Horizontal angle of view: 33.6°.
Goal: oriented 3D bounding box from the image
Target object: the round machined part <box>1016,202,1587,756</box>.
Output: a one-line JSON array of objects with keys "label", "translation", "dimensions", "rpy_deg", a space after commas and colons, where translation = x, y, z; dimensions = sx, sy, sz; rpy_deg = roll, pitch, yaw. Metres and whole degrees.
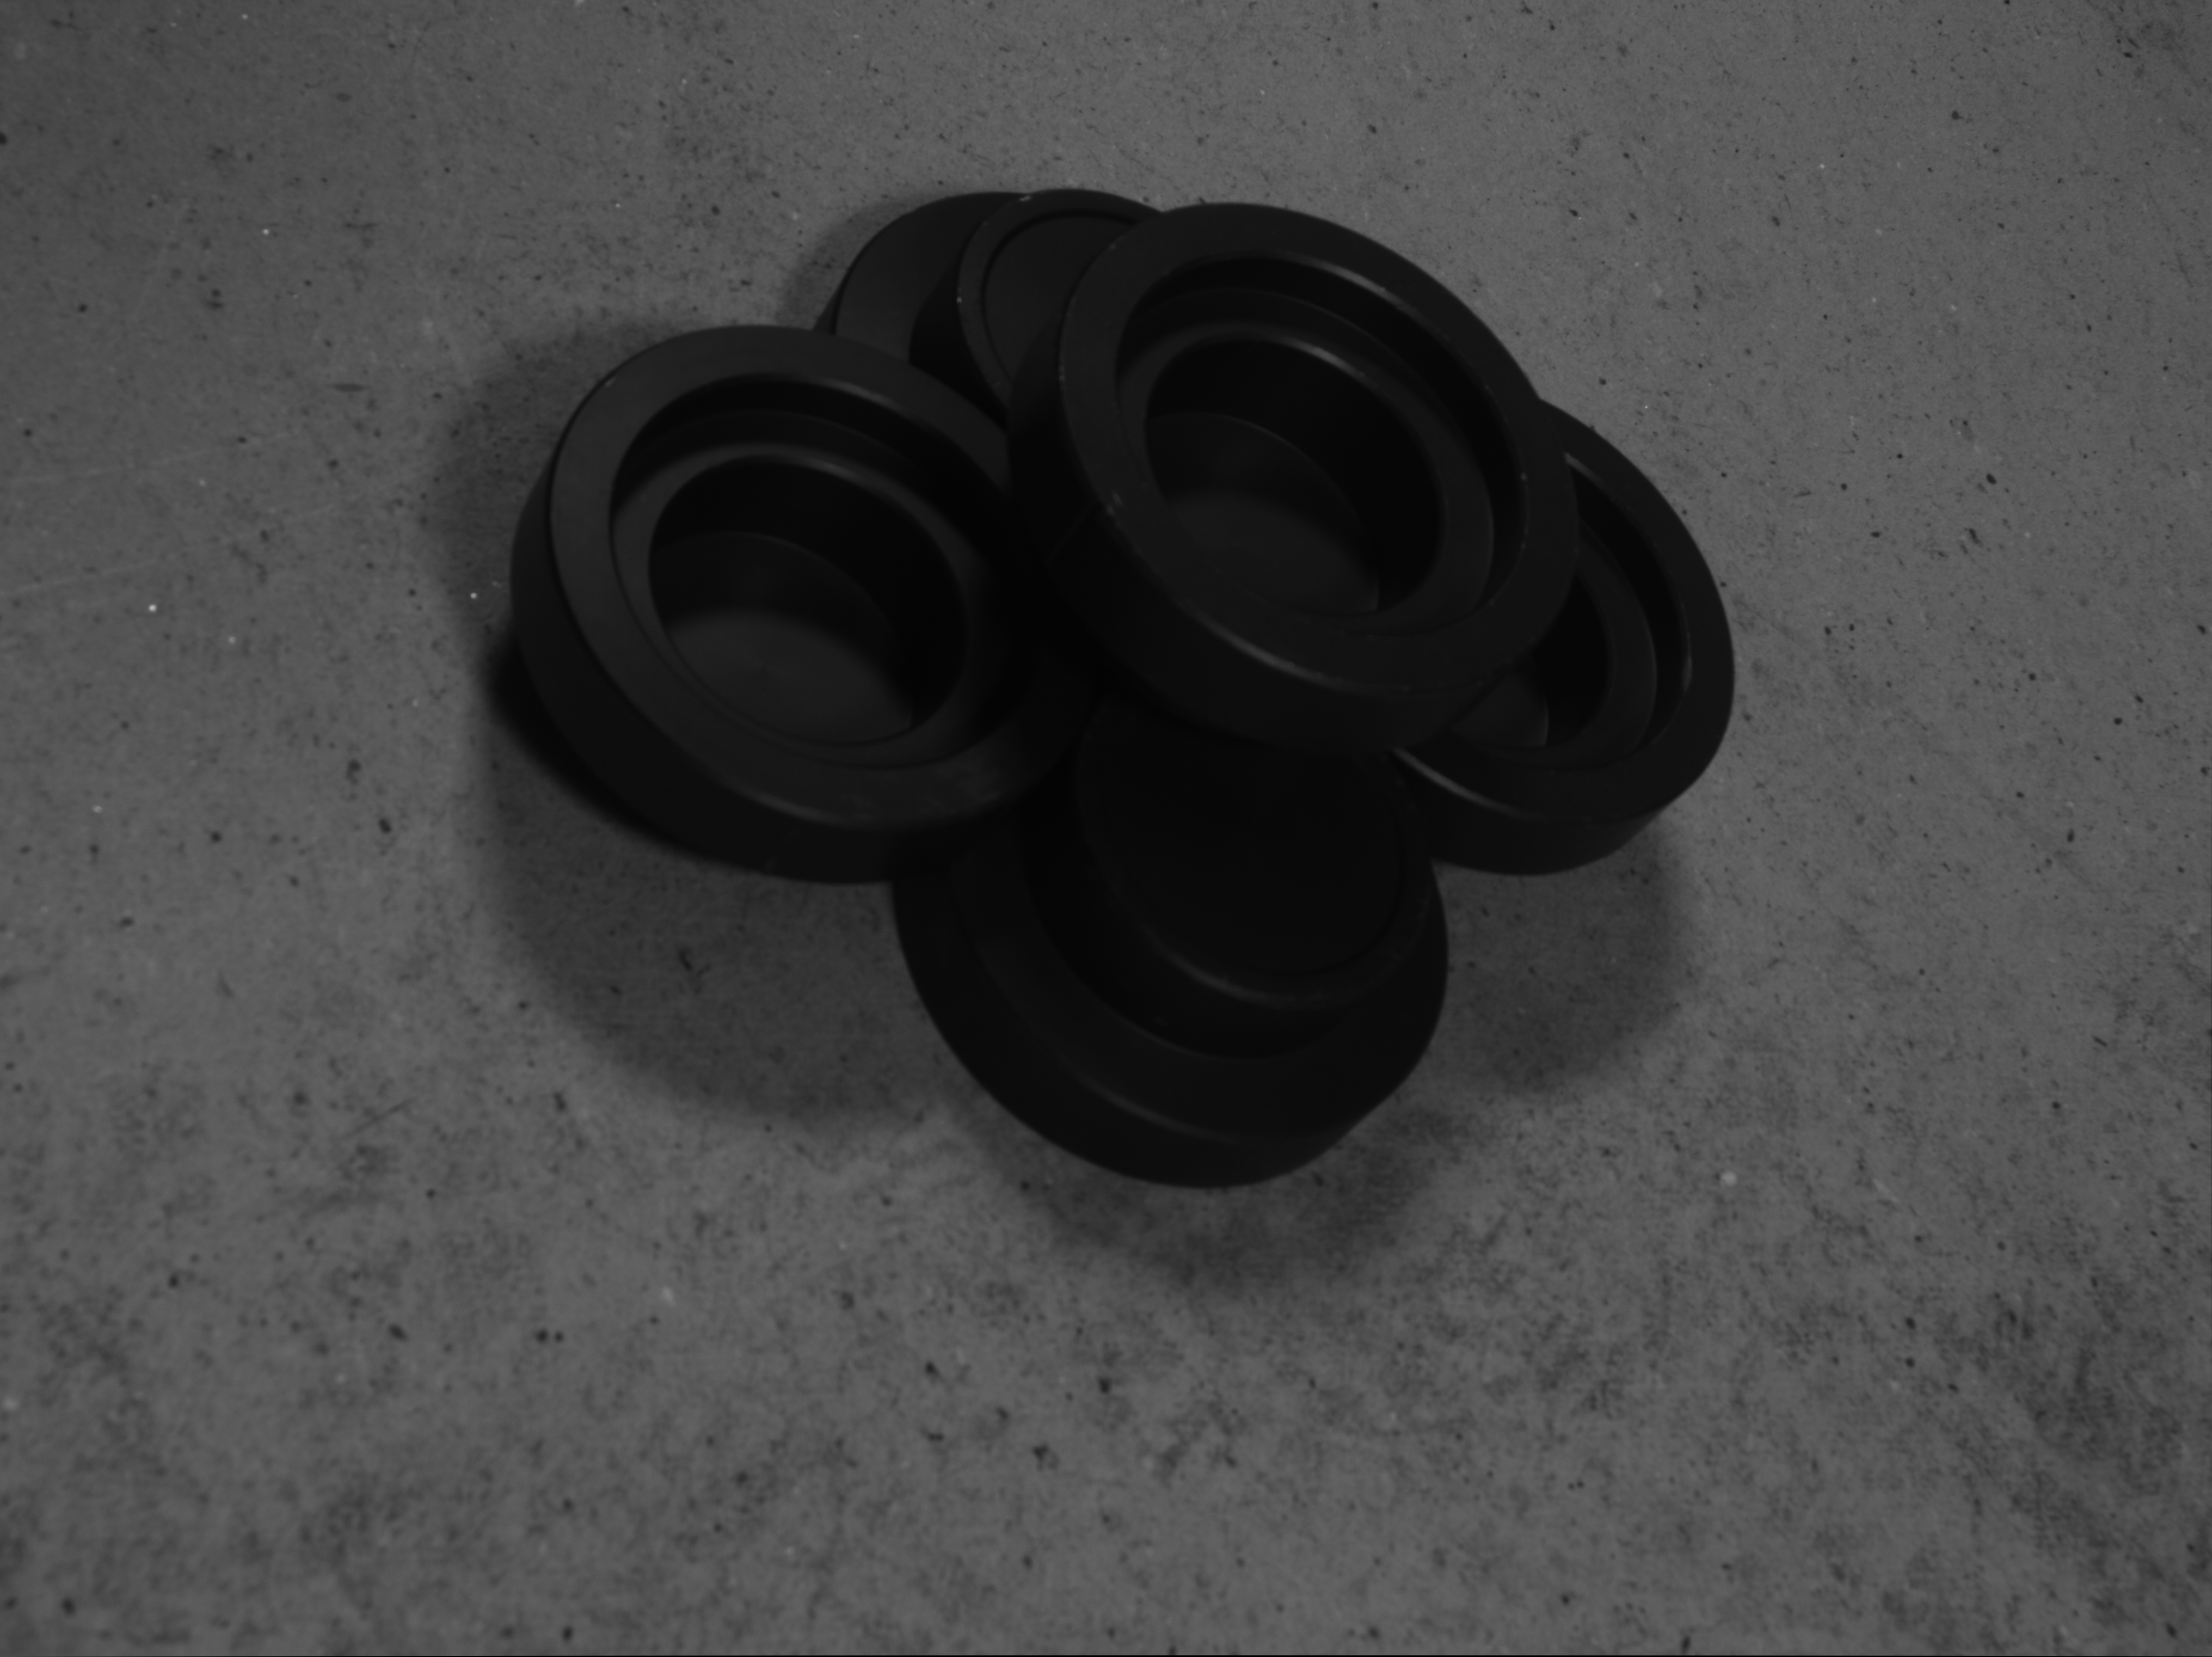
[{"label": "round machined part", "translation": [0.029, -0.055, 0.624], "dimensions": [0.098, 0.042, 0.098], "rpy_deg": [13, 56, -21]}]

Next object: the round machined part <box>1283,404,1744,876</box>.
[{"label": "round machined part", "translation": [0.067, -0.034, 0.686], "dimensions": [0.098, 0.042, 0.098], "rpy_deg": [14, 56, -21]}]

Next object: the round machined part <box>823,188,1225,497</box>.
[{"label": "round machined part", "translation": [-0.003, -0.078, 0.675], "dimensions": [0.098, 0.042, 0.098], "rpy_deg": [14, 56, -21]}]

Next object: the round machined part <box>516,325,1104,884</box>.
[{"label": "round machined part", "translation": [-0.053, -0.033, 0.621], "dimensions": [0.098, 0.042, 0.098], "rpy_deg": [14, 56, -21]}]

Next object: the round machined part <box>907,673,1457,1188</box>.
[{"label": "round machined part", "translation": [0.018, 0.009, 0.633], "dimensions": [0.098, 0.042, 0.098], "rpy_deg": [14, 56, -21]}]
